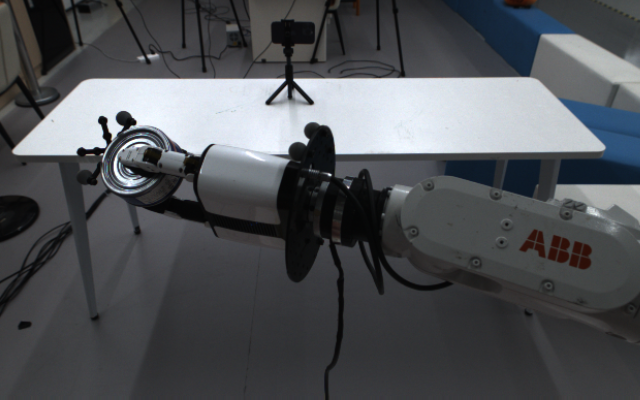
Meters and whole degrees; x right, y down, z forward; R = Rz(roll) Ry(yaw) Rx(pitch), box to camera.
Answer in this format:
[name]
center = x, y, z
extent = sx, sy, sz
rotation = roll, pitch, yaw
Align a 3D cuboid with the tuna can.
[tuna can]
center = -0.193, -0.039, 0.533
extent = 0.085, 0.034, 0.085
rotation = -3, 71, 9
